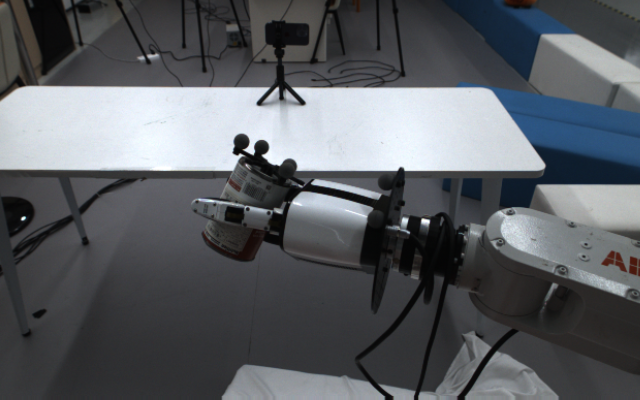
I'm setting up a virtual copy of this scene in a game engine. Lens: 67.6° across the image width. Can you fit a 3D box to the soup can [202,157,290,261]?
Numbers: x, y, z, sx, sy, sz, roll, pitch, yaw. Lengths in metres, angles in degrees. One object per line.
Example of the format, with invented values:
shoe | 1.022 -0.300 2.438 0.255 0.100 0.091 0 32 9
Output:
soup can | -0.082 0.011 0.554 0.067 0.101 0.067 27 10 -5
